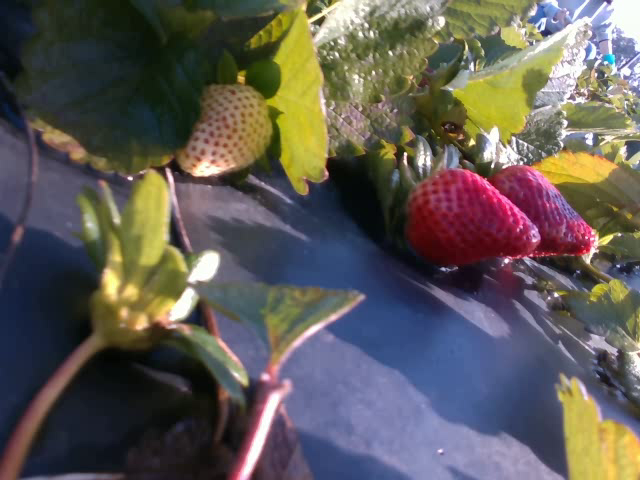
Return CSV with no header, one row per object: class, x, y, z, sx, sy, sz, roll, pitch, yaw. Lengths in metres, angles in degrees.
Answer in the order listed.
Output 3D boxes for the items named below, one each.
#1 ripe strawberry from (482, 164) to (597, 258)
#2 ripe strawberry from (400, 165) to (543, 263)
ripe strawberry,0.091,-0.007,0.241,0.057,0.046,0.052,31,48,26
ripe strawberry,0.054,-0.005,0.199,0.051,0.037,0.043,28,54,21
